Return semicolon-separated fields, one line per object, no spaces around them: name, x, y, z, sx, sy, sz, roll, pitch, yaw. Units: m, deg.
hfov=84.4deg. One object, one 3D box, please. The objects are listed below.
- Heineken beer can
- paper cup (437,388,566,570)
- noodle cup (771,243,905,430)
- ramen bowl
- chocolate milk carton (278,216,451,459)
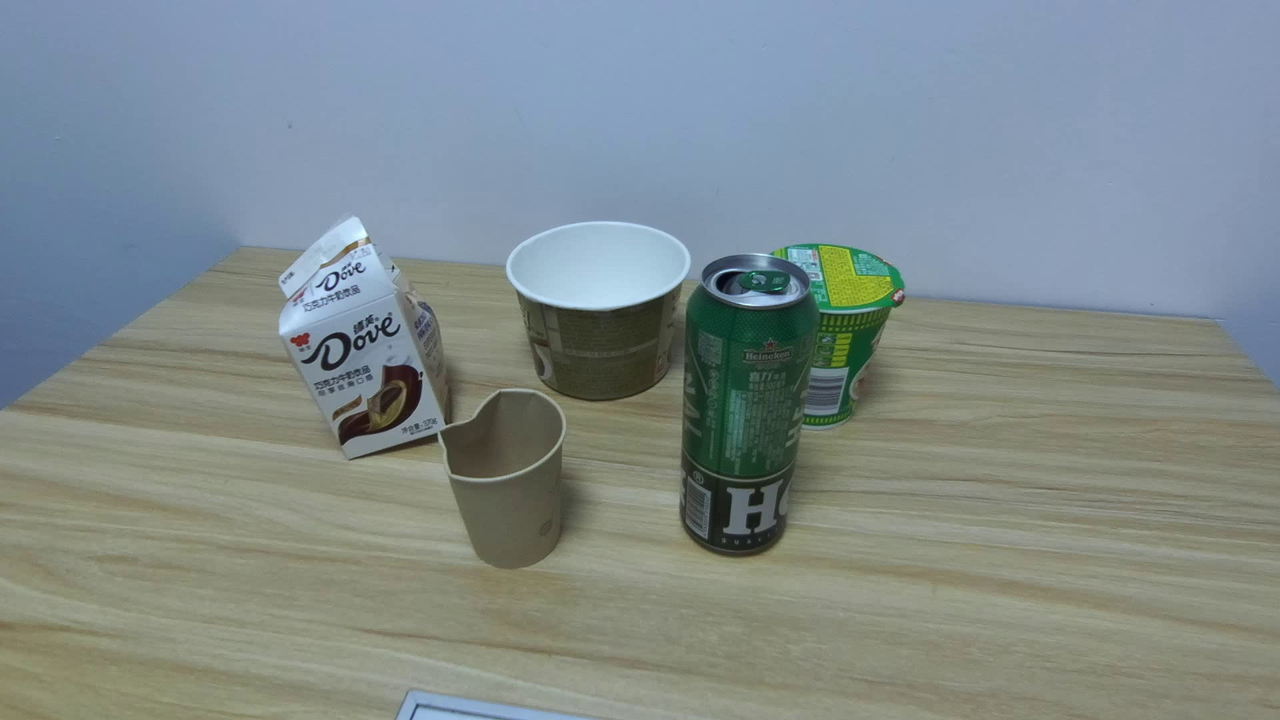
Heineken beer can;0.057;0.030;0.391;0.067;0.169;0.067;0;34;1
paper cup;-0.074;0.073;0.410;0.069;0.081;0.073;-11;36;-16
noodle cup;0.127;-0.012;0.503;0.097;0.110;0.097;-1;34;1
ramen bowl;-0.028;-0.037;0.553;0.140;0.095;0.140;0;35;0
chocolate milk carton;-0.187;-0.014;0.484;0.089;0.156;0.076;-22;35;-7
